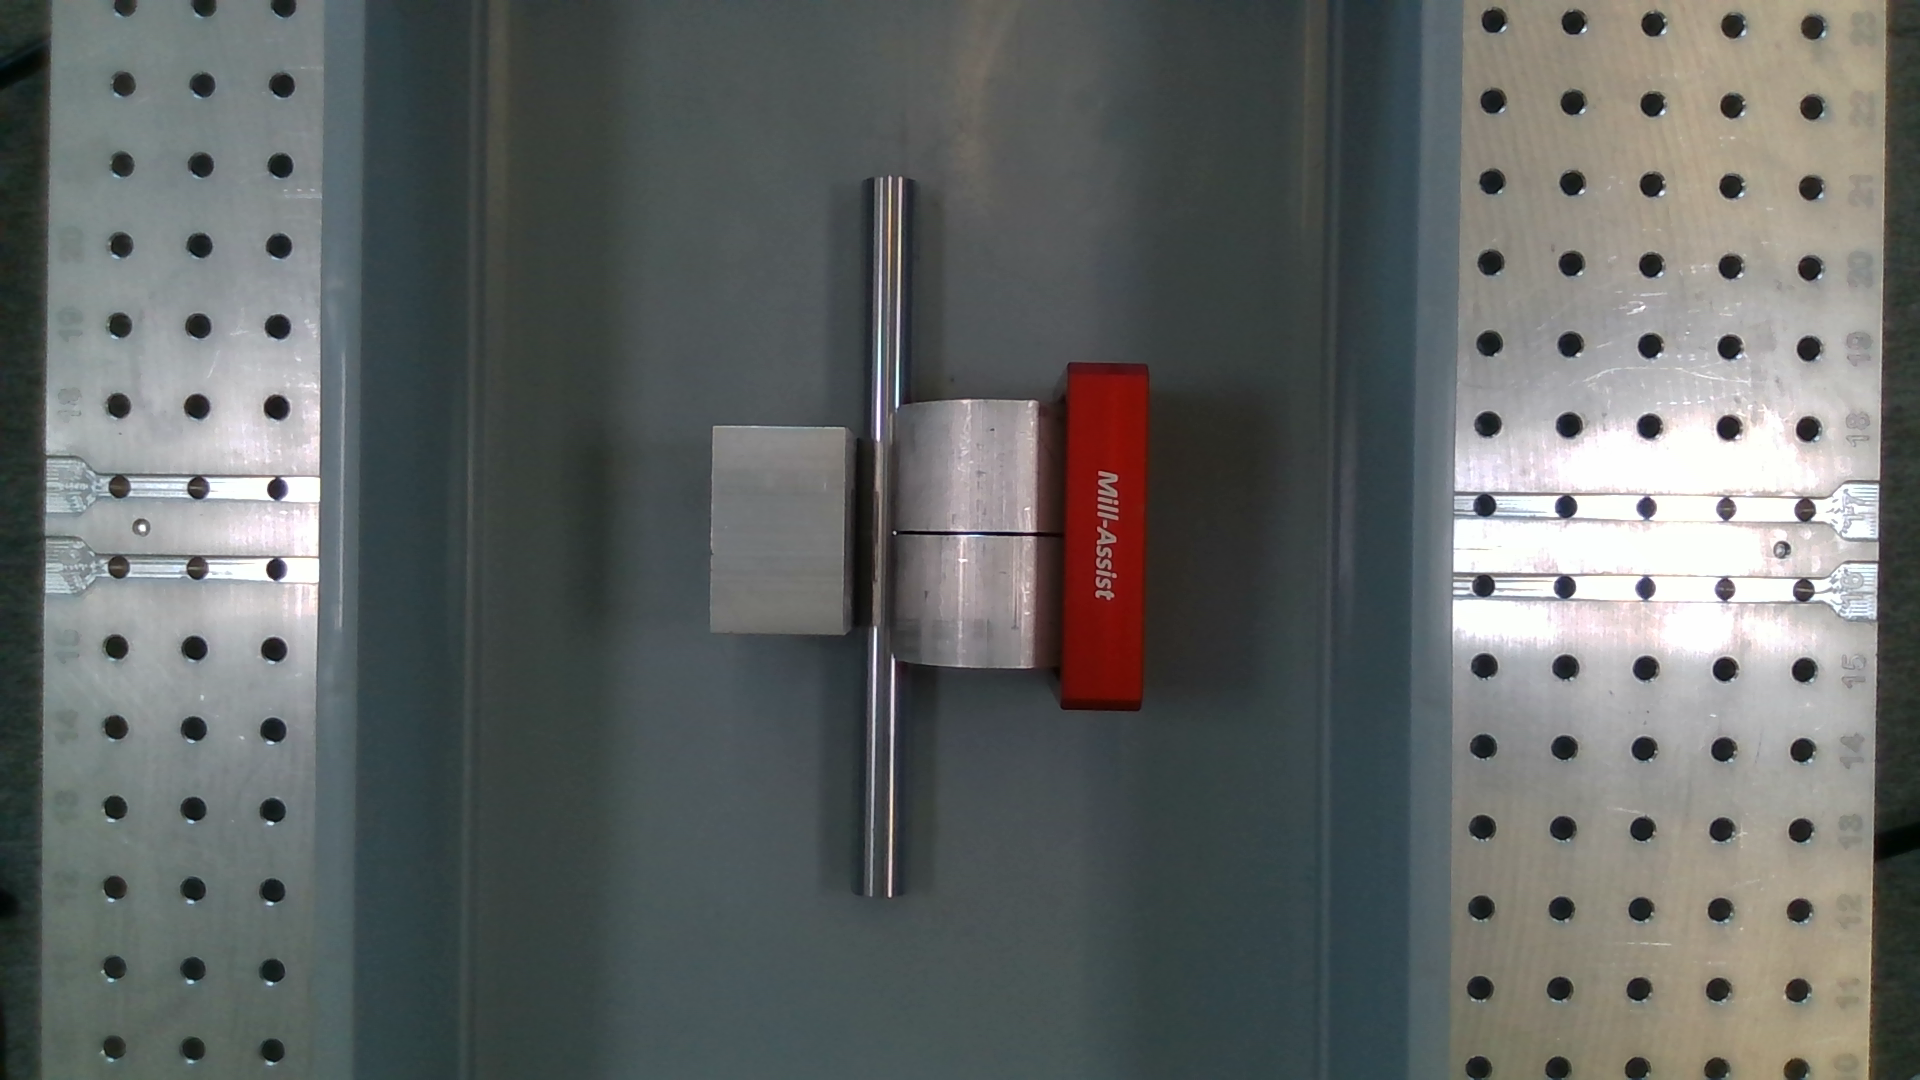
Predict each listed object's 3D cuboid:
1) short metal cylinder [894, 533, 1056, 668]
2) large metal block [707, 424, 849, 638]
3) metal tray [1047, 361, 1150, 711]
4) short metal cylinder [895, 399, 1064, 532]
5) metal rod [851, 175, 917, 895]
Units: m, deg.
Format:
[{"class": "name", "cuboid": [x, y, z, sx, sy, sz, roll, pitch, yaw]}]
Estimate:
[{"class": "short metal cylinder", "cuboid": [0.013, 0.023, 0.560, 0.080, 0.080, 0.050, 2, 90, 0]}, {"class": "large metal block", "cuboid": [-0.070, -0.004, 0.558, 0.050, 0.080, 0.080, 1, 90, 0]}, {"class": "metal tray", "cuboid": [0.054, -0.001, 0.554, 0.030, 0.090, 0.130, 1, 90, 0]}, {"class": "short metal cylinder", "cuboid": [0.014, -0.028, 0.559, 0.080, 0.080, 0.050, 1, 90, 0]}, {"class": "metal rod", "cuboid": [-0.032, -0.002, 0.586, 0.025, 0.025, 0.300, 1, 91, 0]}]
